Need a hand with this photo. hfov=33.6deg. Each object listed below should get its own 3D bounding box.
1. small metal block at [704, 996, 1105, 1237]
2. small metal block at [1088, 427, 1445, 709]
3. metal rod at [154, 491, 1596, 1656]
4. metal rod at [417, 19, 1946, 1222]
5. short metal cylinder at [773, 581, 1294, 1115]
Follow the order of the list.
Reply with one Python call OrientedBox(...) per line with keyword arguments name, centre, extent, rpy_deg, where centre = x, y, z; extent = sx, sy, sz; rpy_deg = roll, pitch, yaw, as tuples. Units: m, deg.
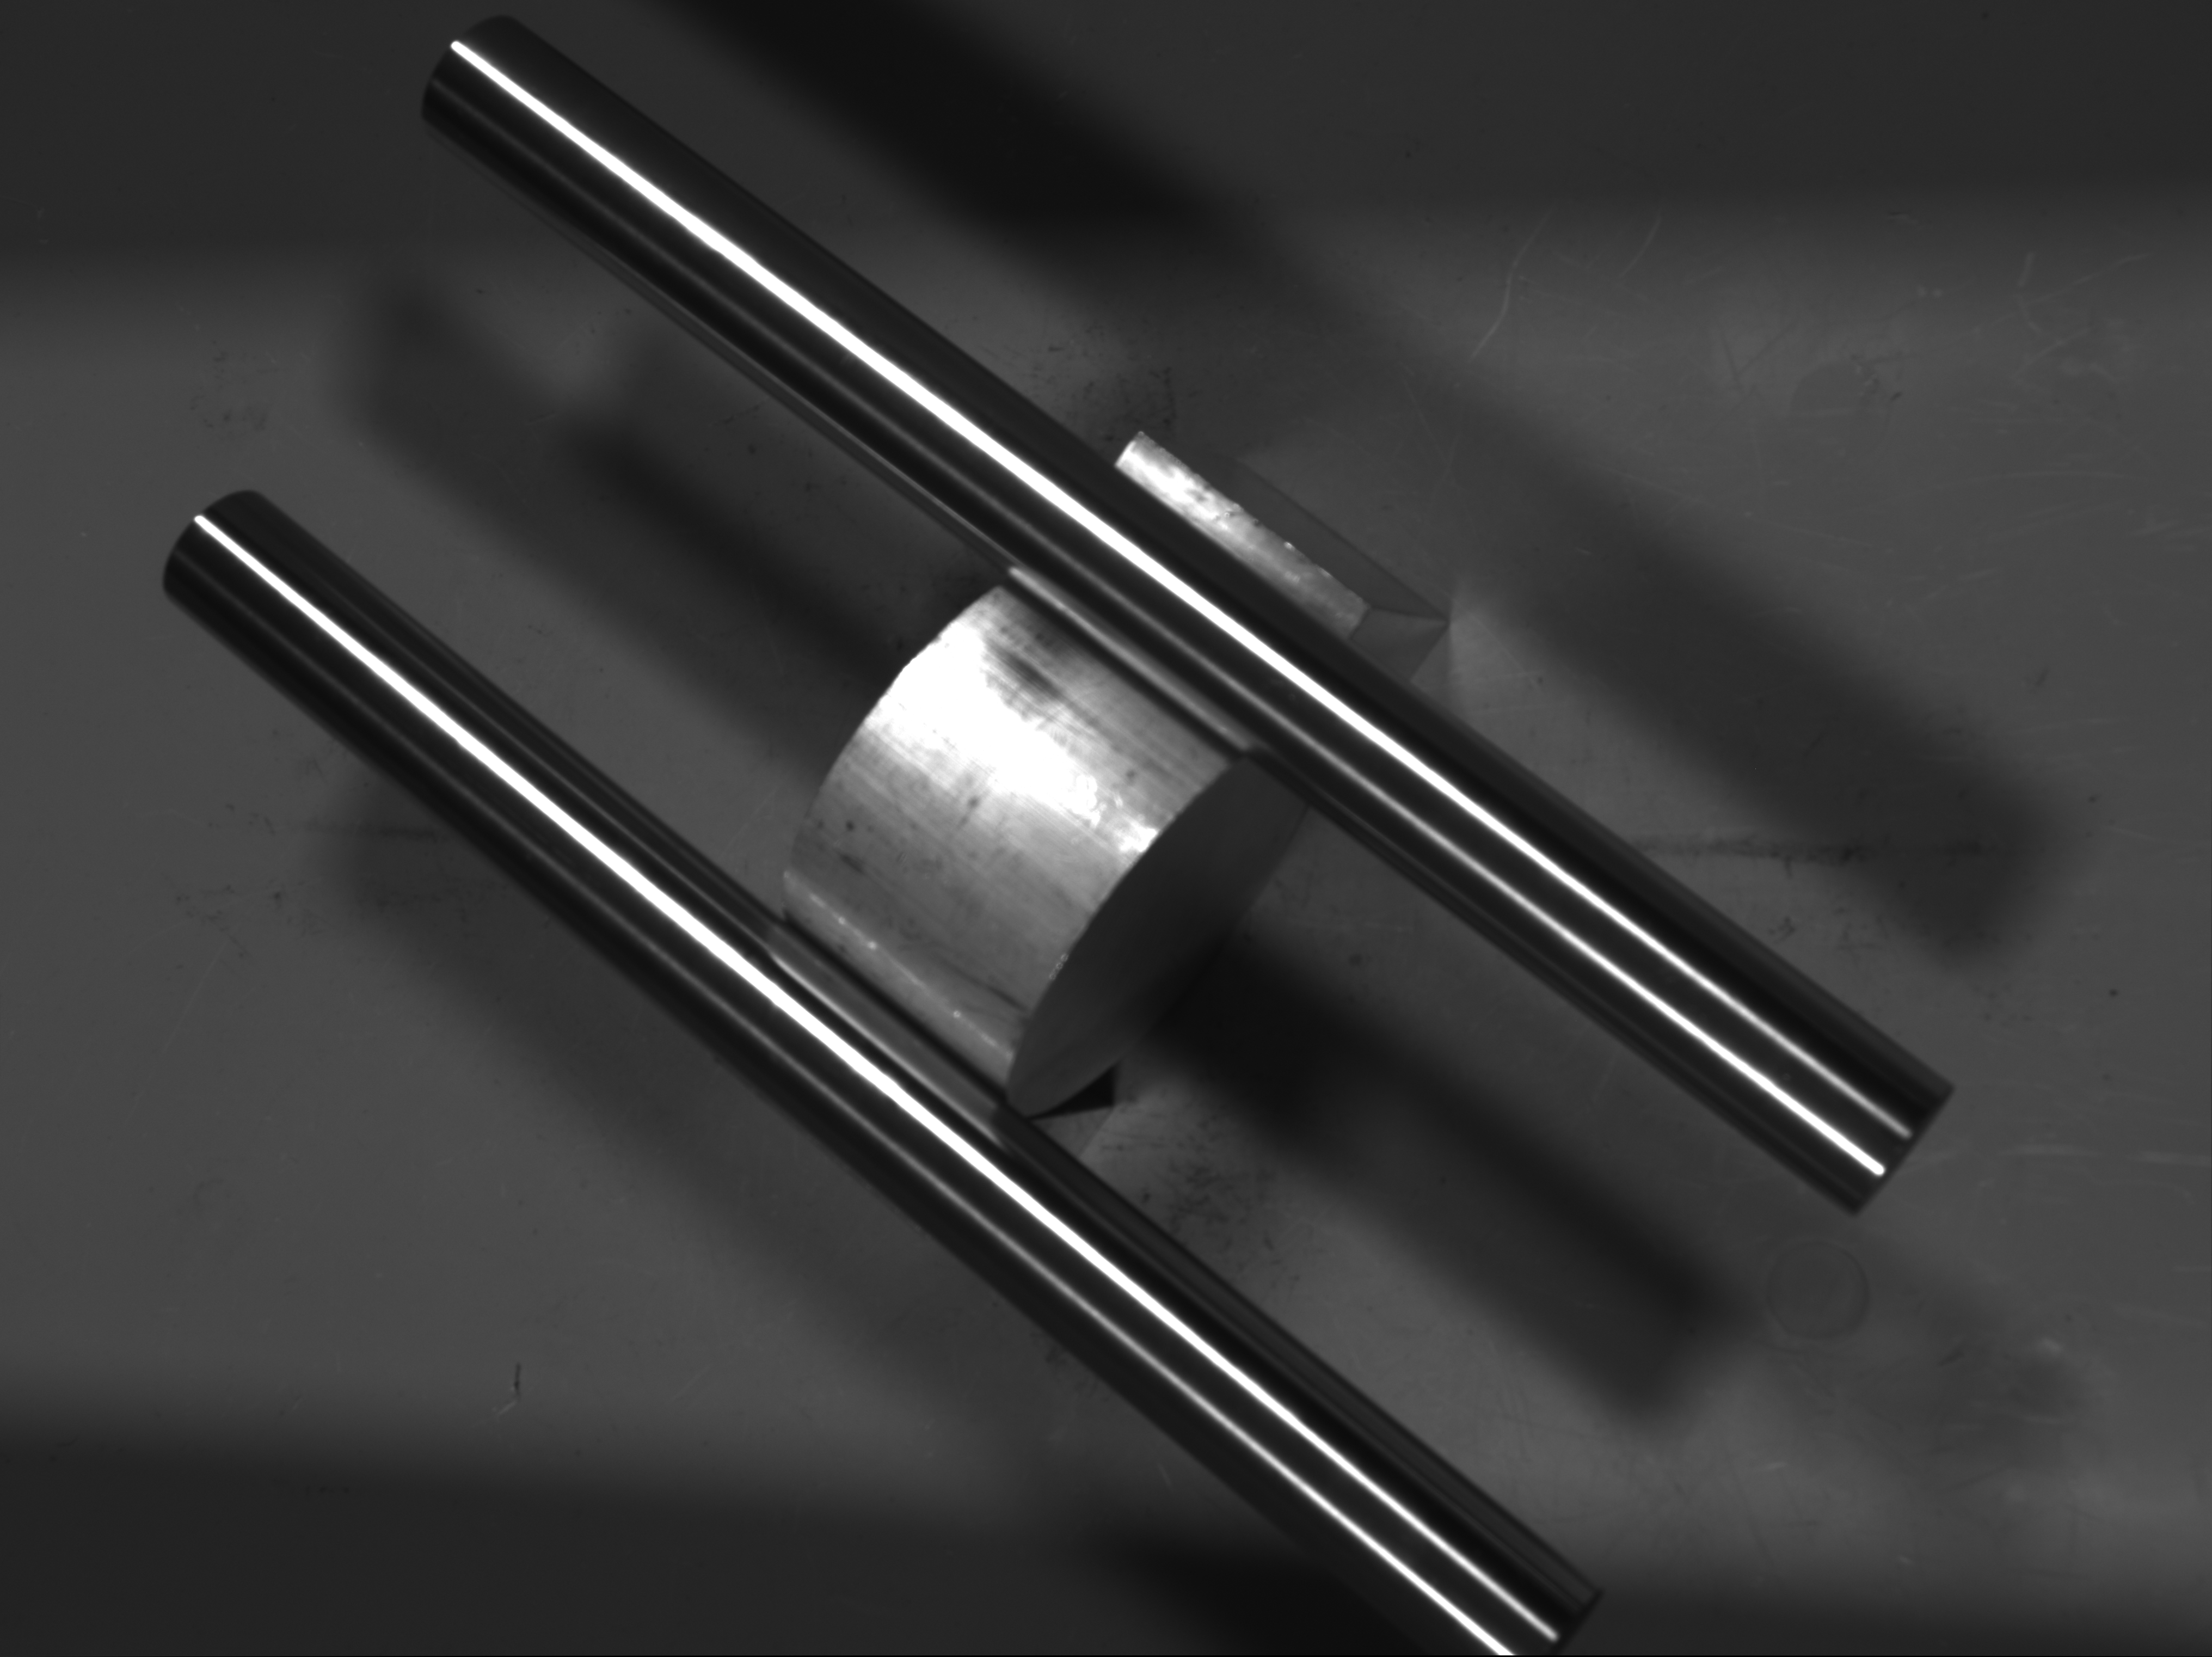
OrientedBox(name="small metal block", centre=(-0.035, 0.045, 0.642), extent=(0.050, 0.050, 0.025), rpy_deg=(39, 102, 16))
OrientedBox(name="small metal block", centre=(0.024, -0.041, 0.621), extent=(0.050, 0.050, 0.025), rpy_deg=(39, 102, 16))
OrientedBox(name="metal rod", centre=(-0.046, 0.039, 0.607), extent=(0.300, 0.025, 0.025), rpy_deg=(38, 102, 16))
OrientedBox(name="metal rod", centre=(0.004, -0.040, 0.589), extent=(0.300, 0.025, 0.025), rpy_deg=(38, 102, 16))
OrientedBox(name="short metal cylinder", centre=(-0.010, 0.001, 0.618), extent=(0.050, 0.080, 0.080), rpy_deg=(38, 102, 16))
